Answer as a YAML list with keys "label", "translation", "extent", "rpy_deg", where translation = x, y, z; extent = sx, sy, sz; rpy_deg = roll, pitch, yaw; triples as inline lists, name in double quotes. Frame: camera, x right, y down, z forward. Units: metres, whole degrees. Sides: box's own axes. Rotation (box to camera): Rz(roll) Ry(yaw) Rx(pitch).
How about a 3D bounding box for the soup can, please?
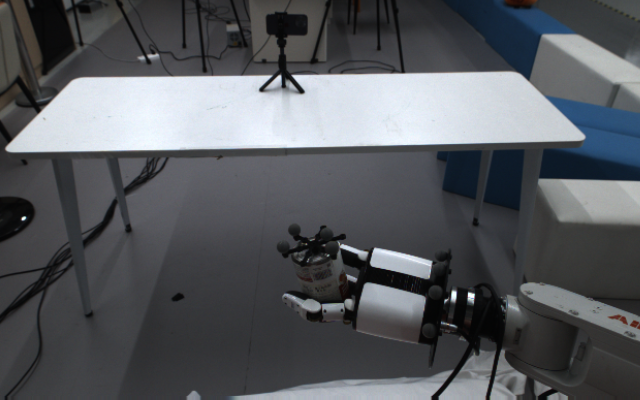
- label: "soup can"
  translation: [0.004, 0.108, 0.665]
  extent: [0.067, 0.101, 0.067]
  rpy_deg: [-11, 27, 5]
